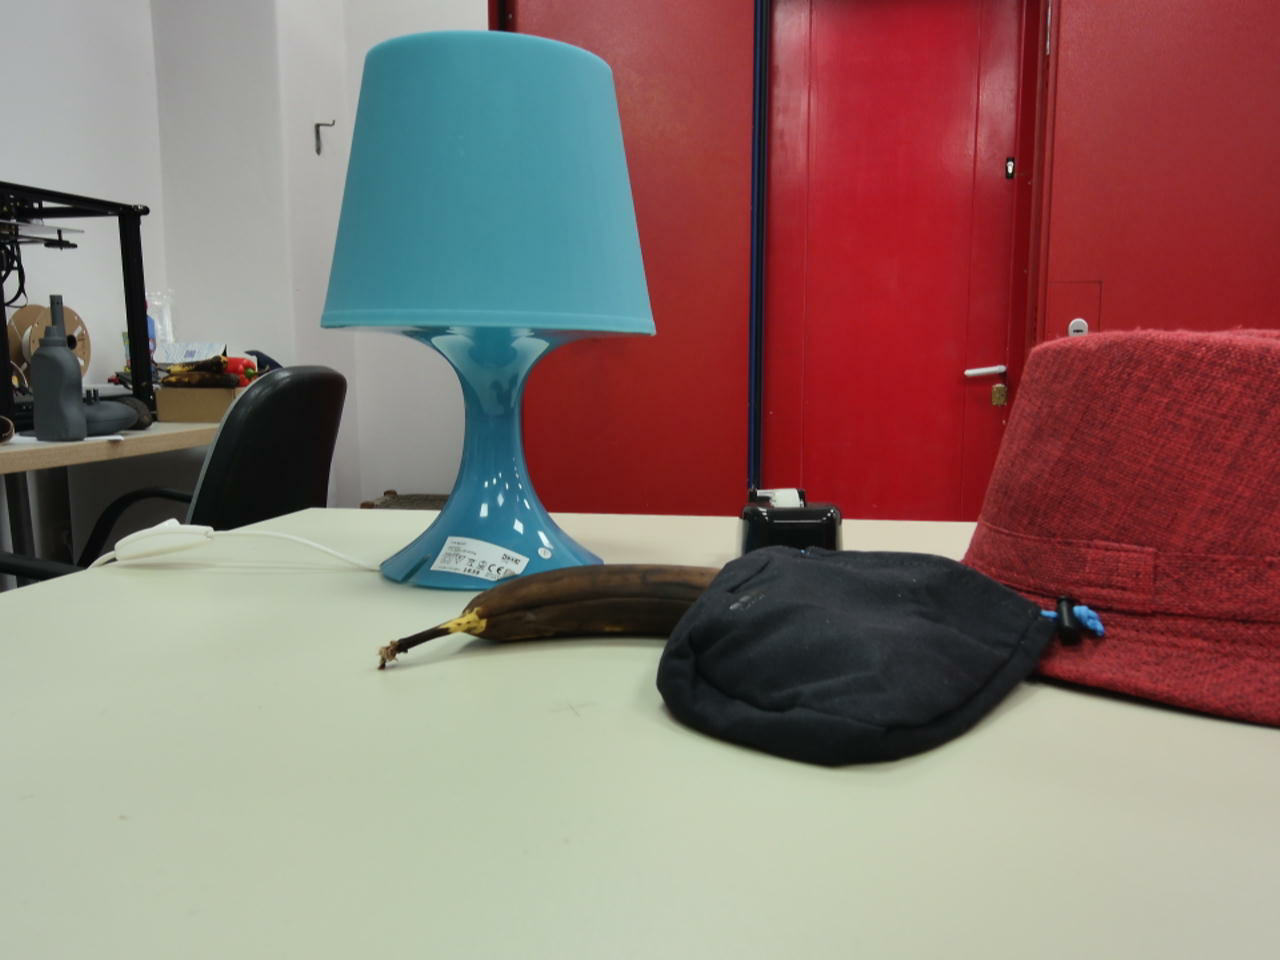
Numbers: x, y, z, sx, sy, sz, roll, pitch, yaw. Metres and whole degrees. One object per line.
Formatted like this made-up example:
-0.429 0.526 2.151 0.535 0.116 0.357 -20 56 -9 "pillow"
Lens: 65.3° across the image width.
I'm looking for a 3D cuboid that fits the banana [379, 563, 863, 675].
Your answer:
-0.003 0.055 0.419 0.188 0.033 0.091 1 4 14 "banana"
